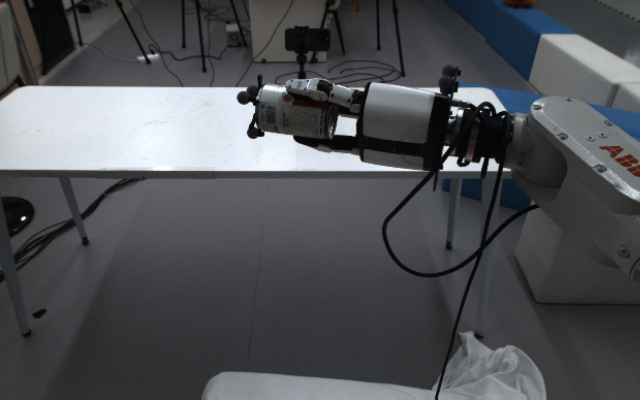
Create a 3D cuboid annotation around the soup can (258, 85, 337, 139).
[{"bbox_3d":[-0.029,-0.122,0.667,0.101,0.067,0.067,9,35,10],"label":"soup can"}]
